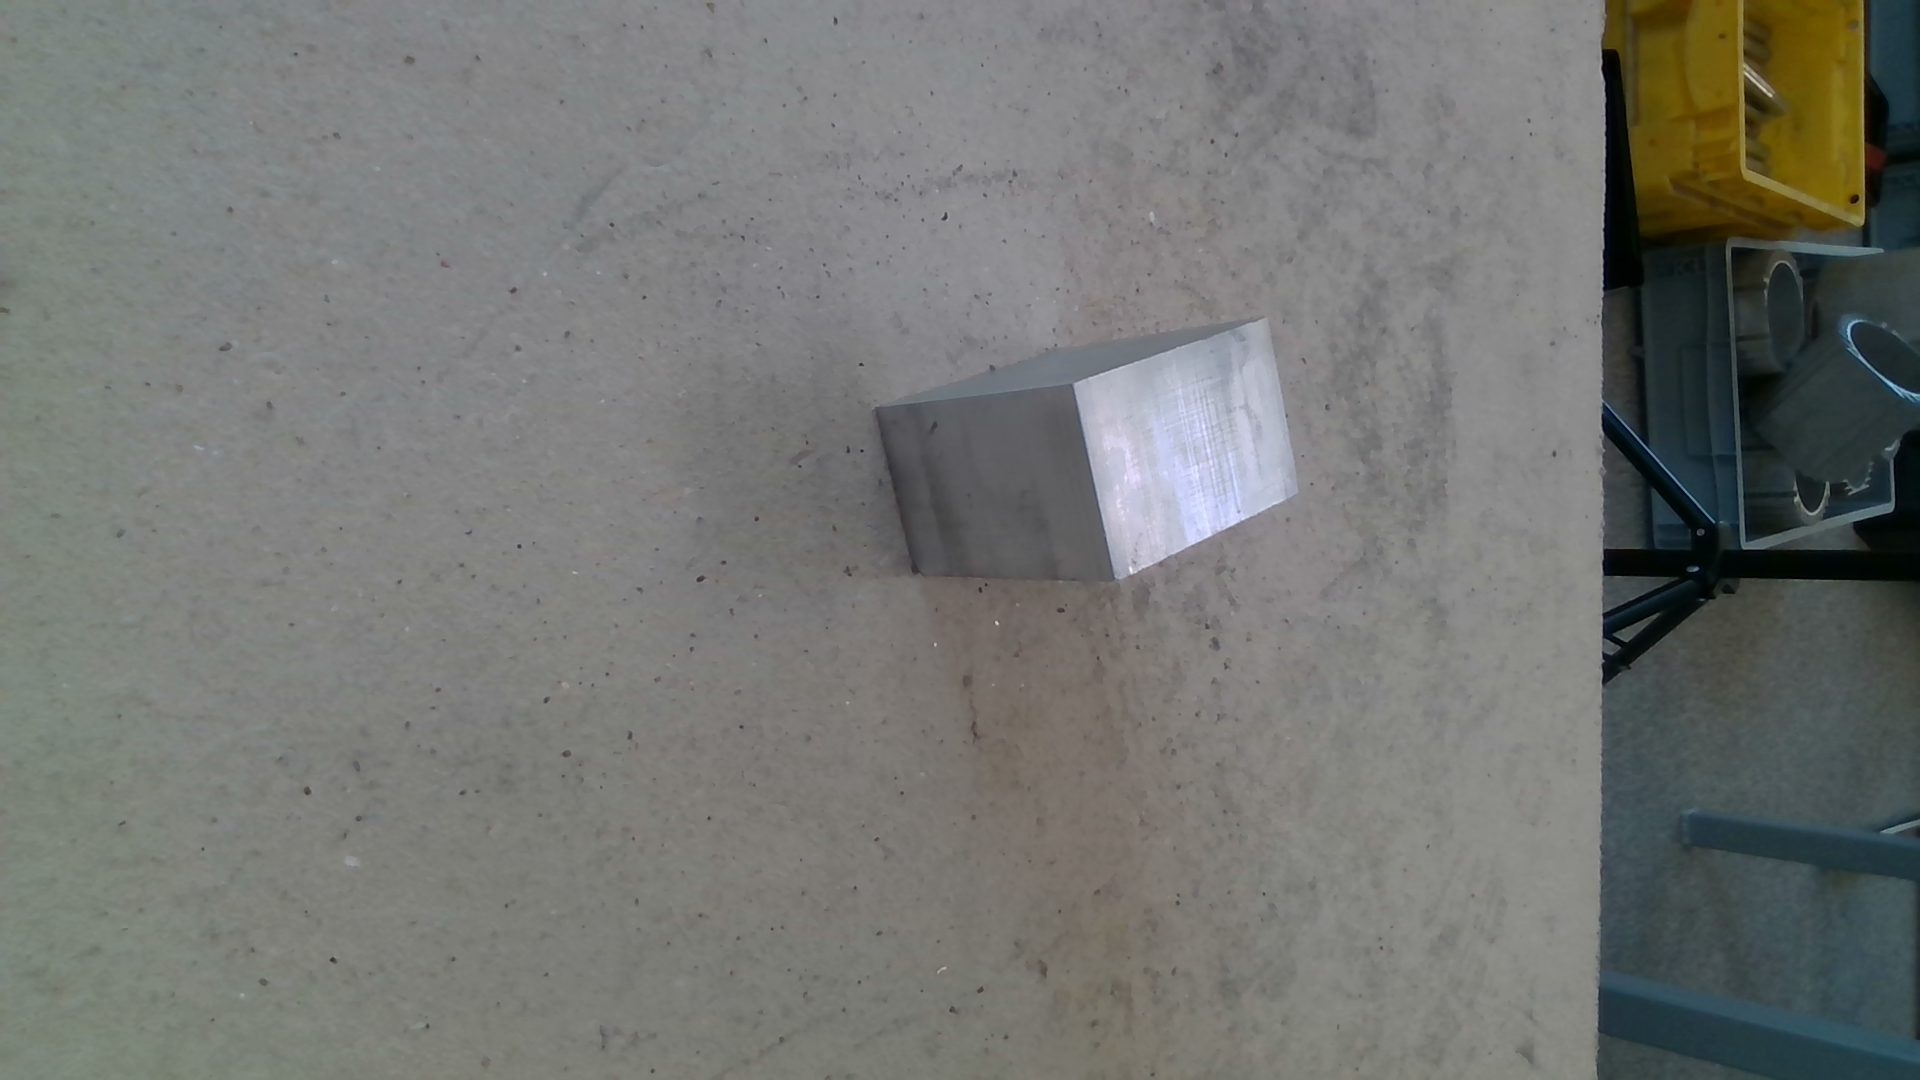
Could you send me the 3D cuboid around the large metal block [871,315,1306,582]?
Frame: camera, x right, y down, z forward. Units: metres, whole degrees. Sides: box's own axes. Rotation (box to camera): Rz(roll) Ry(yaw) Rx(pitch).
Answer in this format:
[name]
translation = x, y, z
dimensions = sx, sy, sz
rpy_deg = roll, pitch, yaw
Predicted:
[large metal block]
translation = 0.036, -0.025, 0.384
dimensions = 0.080, 0.080, 0.050
rpy_deg = -22, 104, -38
